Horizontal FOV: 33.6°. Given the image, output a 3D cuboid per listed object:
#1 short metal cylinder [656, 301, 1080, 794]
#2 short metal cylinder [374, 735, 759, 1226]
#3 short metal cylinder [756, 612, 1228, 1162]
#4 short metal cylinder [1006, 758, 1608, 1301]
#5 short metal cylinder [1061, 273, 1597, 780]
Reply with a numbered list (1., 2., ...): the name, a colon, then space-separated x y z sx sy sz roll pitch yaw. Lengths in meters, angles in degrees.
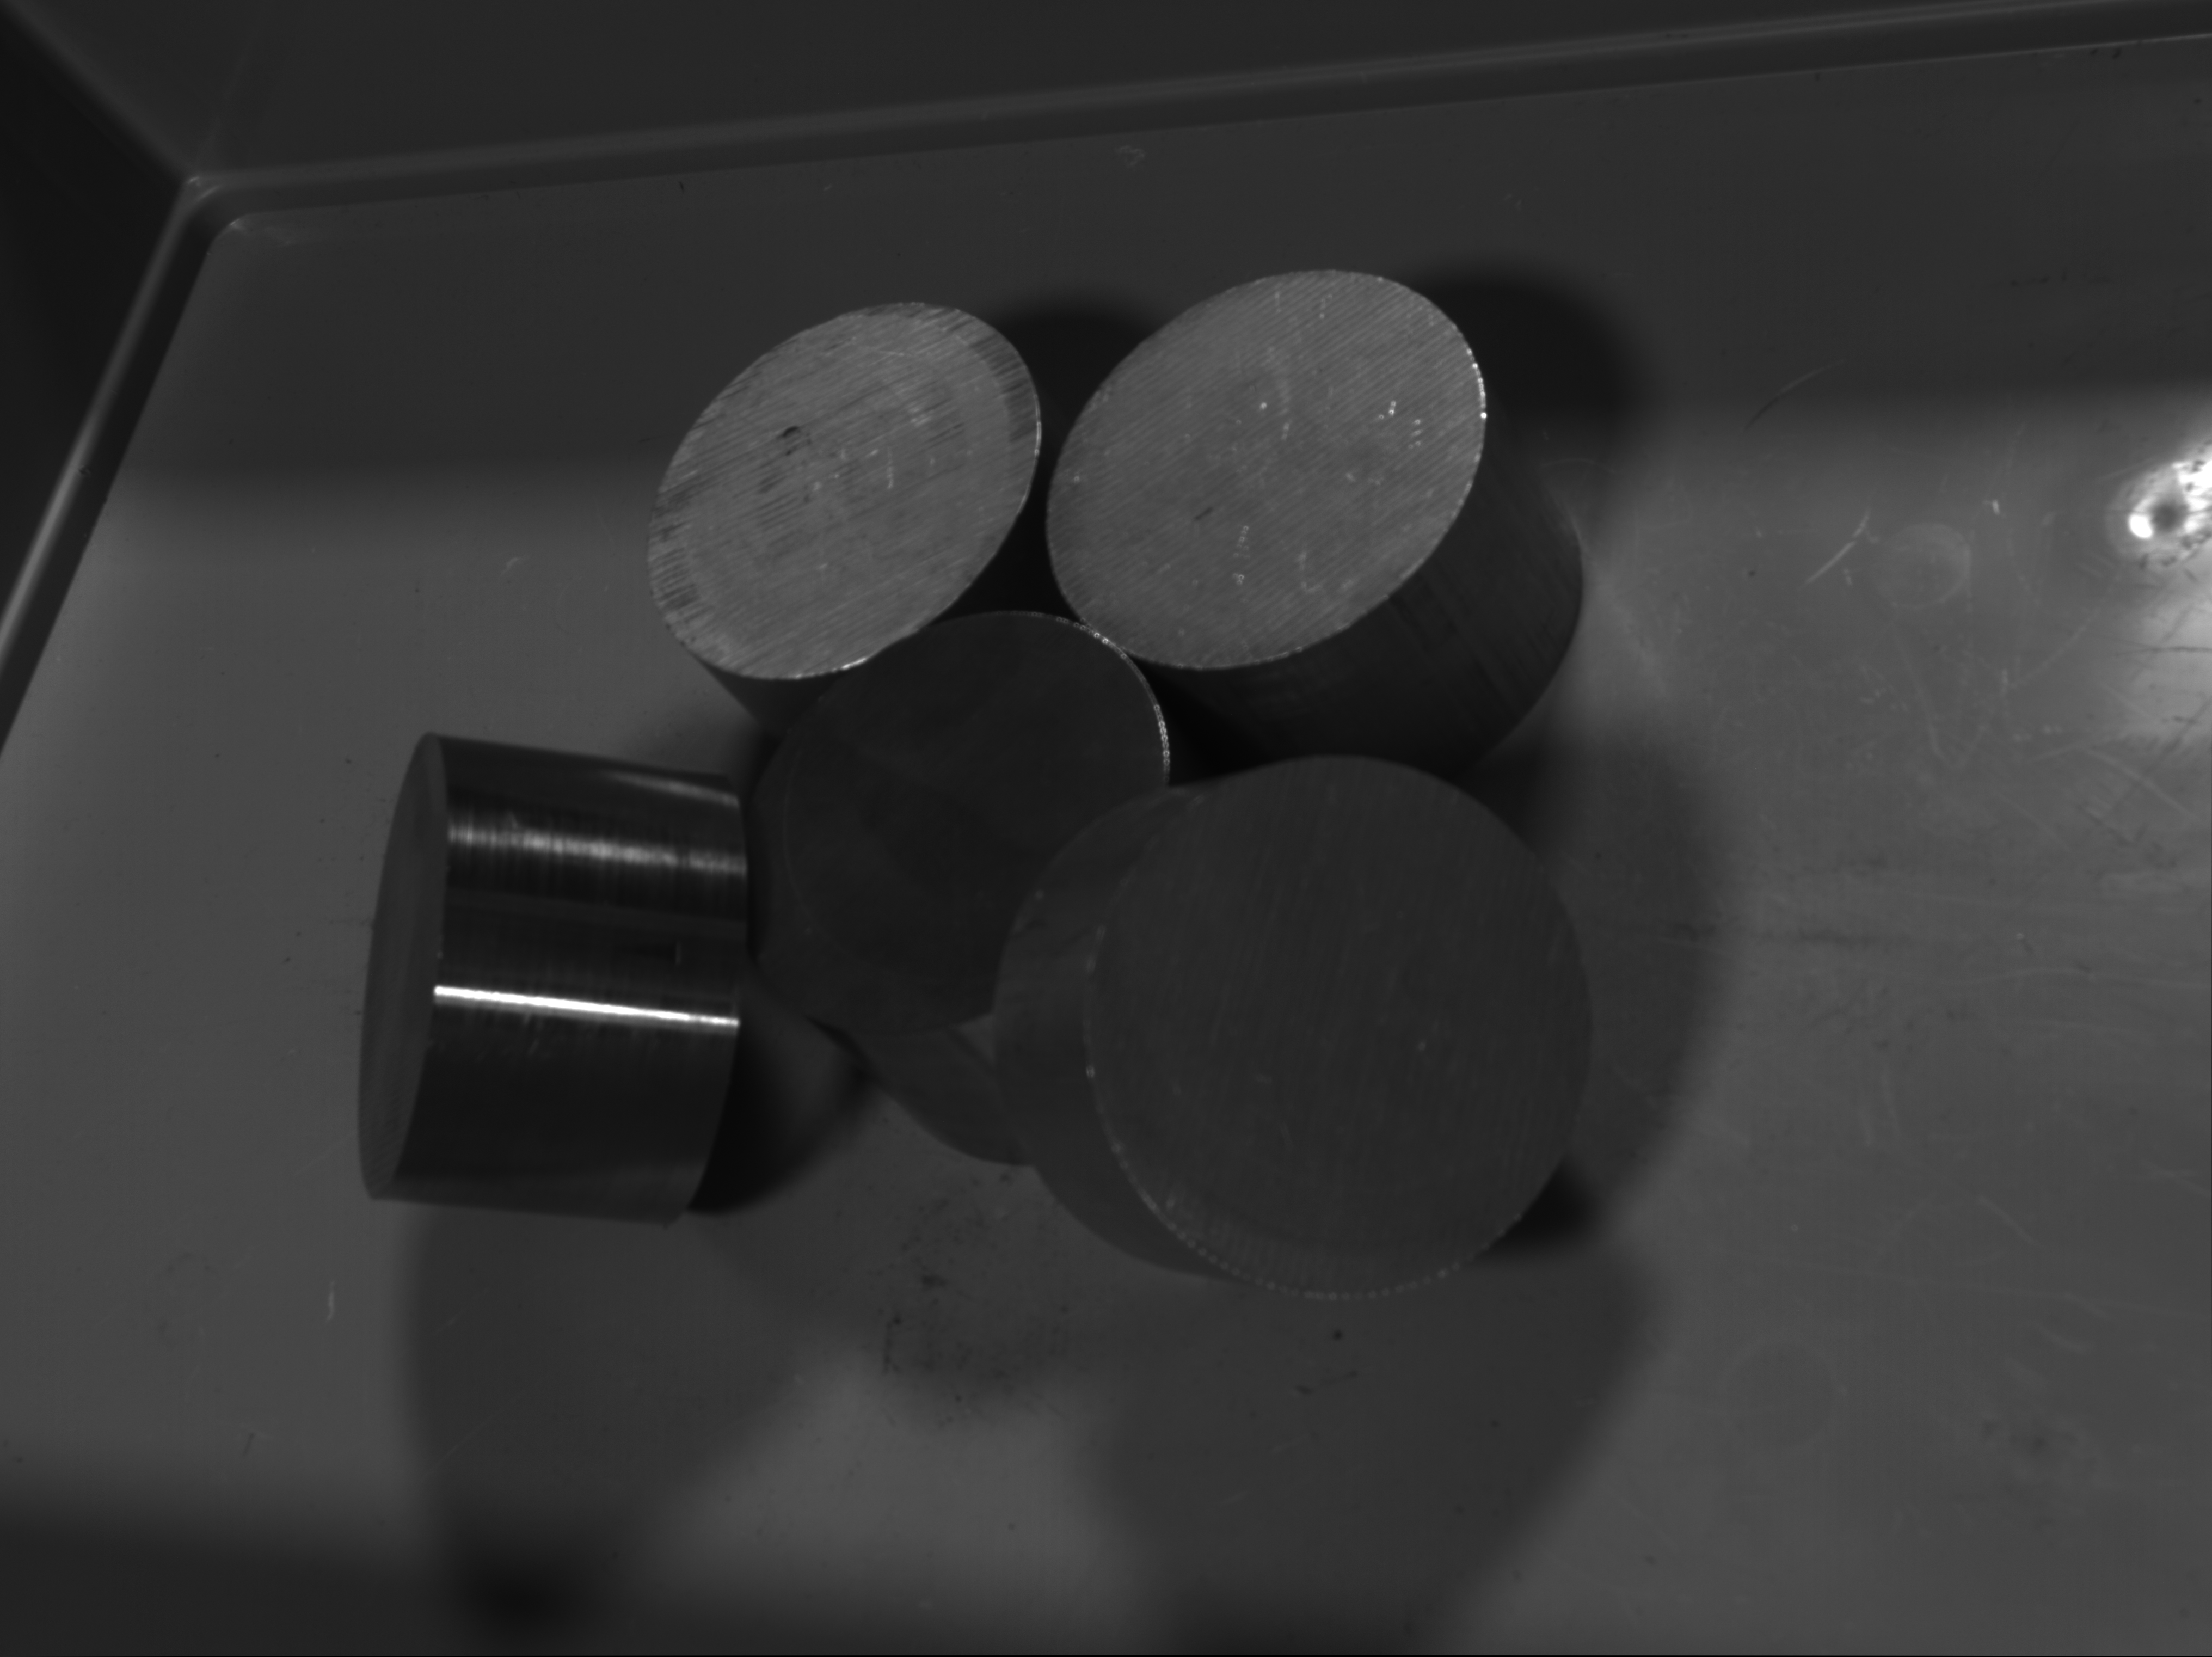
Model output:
1. short metal cylinder: -0.035 -0.050 0.675 0.080 0.050 0.080 -13 56 21
2. short metal cylinder: -0.095 0.027 0.635 0.050 0.080 0.080 7 54 -18
3. short metal cylinder: -0.014 0.010 0.626 0.080 0.050 0.080 -13 56 21
4. short metal cylinder: 0.030 0.031 0.564 0.080 0.080 0.050 -58 13 -13
5. short metal cylinder: 0.039 -0.049 0.636 0.080 0.050 0.080 -13 56 21
